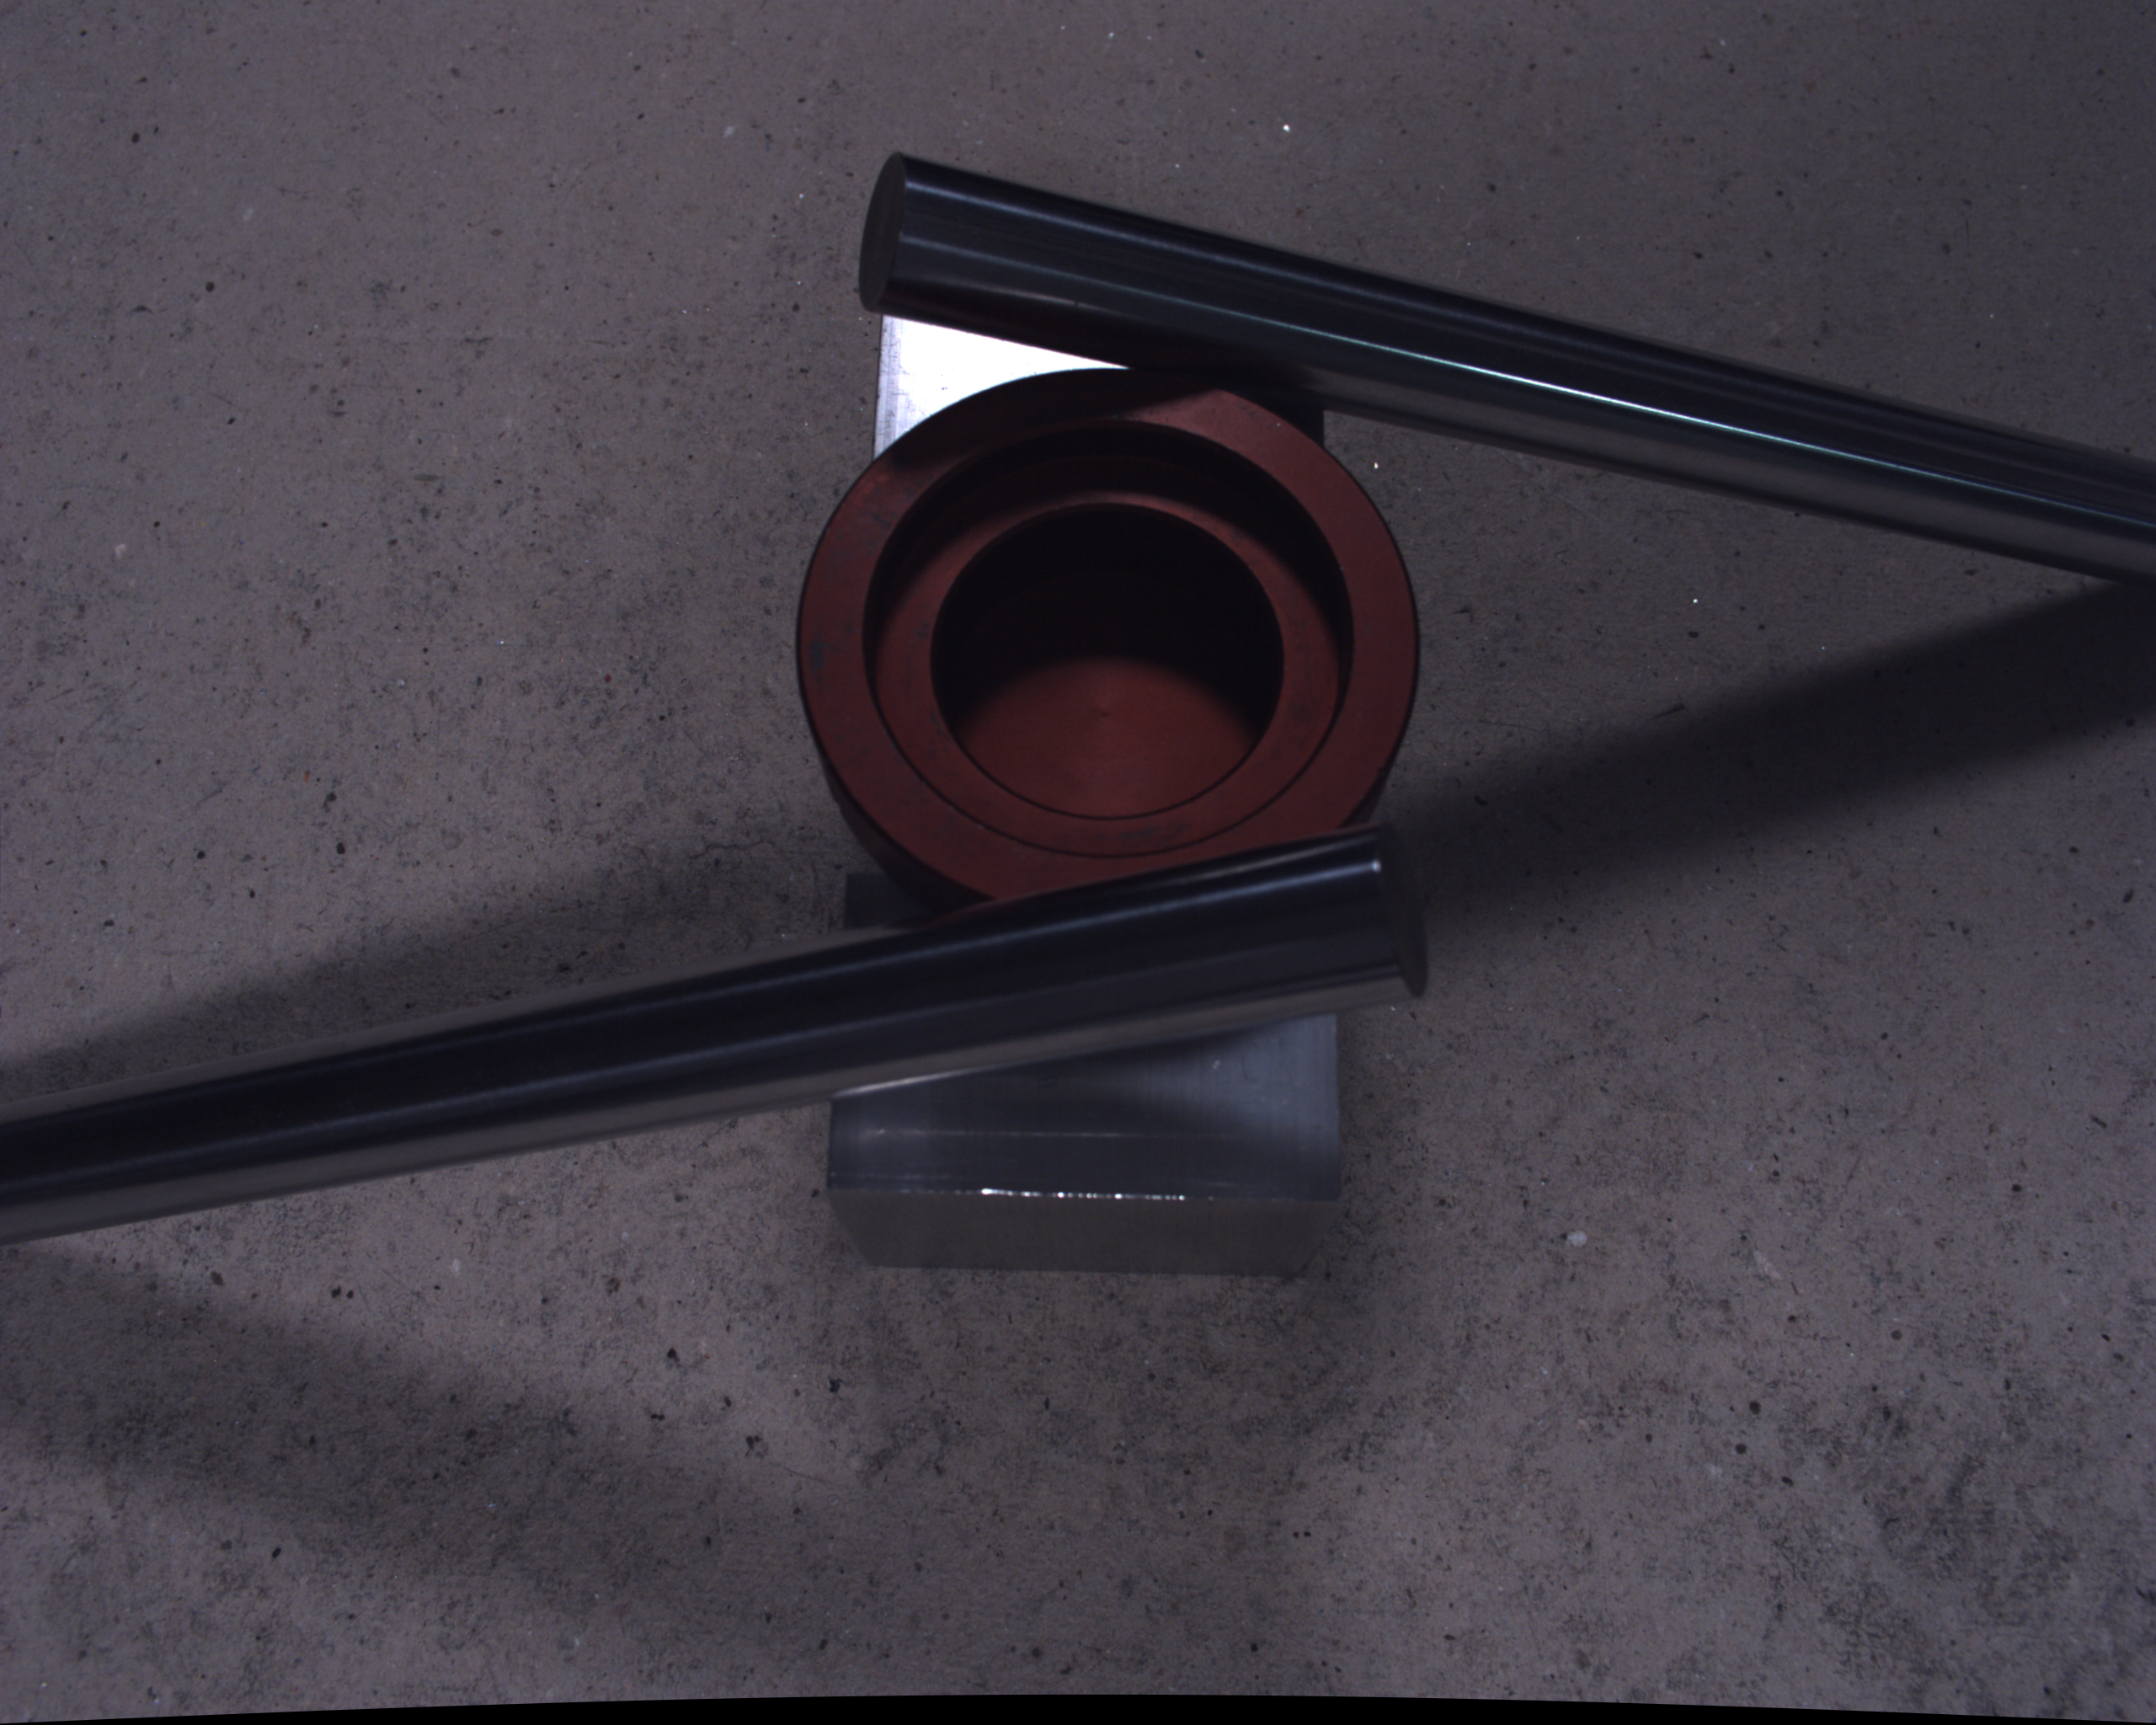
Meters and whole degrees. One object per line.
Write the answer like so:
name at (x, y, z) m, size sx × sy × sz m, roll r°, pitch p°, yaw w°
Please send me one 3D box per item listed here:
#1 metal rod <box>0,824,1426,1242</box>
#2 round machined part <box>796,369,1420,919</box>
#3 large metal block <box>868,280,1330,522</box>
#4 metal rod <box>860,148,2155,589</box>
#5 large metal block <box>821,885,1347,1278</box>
metal rod at (-0.094, 0.035, 0.336) m, size 0.301 × 0.025 × 0.025 m, roll -12°, pitch 69°, yaw 19°
round machined part at (0.005, -0.030, 0.349) m, size 0.099 × 0.042 × 0.098 m, roll 0°, pitch 70°, yaw -1°
large metal block at (0.004, -0.072, 0.406) m, size 0.081 × 0.080 × 0.050 m, roll 1°, pitch 70°, yaw 0°
metal rod at (0.109, -0.083, 0.384) m, size 0.302 × 0.025 × 0.025 m, roll 7°, pitch 69°, yaw -21°
large metal block at (0.001, 0.041, 0.365) m, size 0.081 × 0.080 × 0.050 m, roll 1°, pitch 70°, yaw 0°
